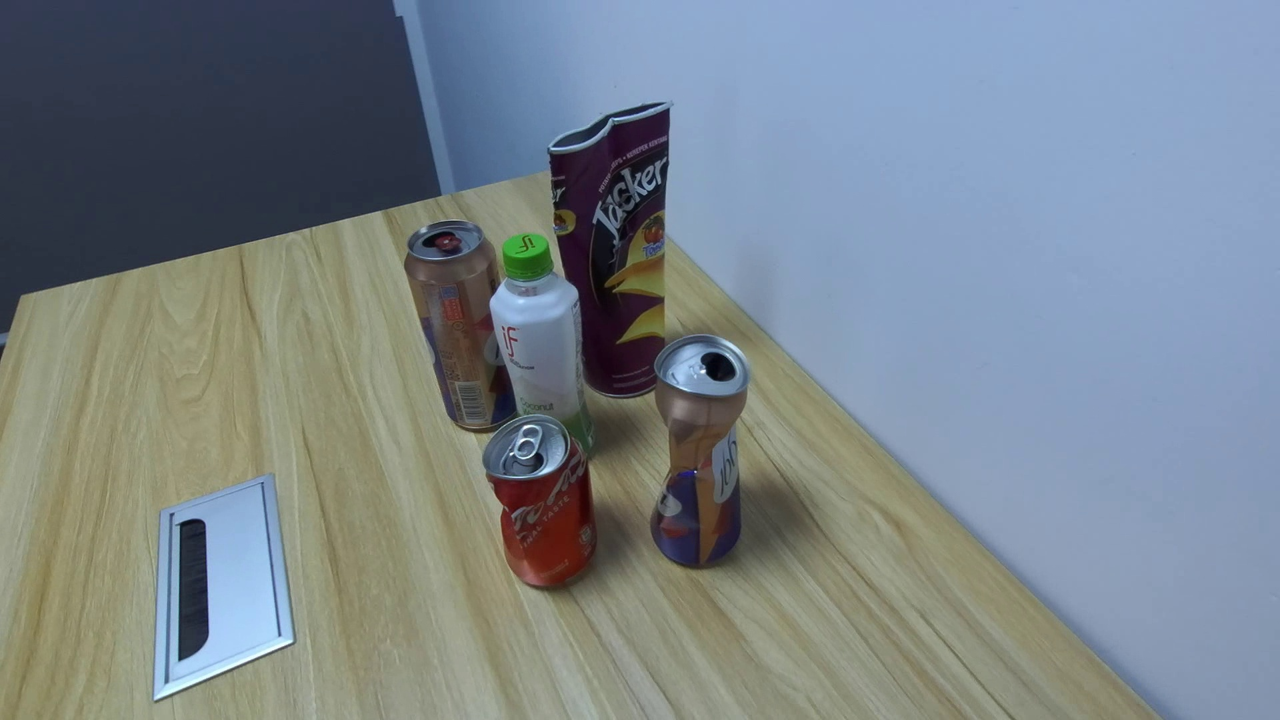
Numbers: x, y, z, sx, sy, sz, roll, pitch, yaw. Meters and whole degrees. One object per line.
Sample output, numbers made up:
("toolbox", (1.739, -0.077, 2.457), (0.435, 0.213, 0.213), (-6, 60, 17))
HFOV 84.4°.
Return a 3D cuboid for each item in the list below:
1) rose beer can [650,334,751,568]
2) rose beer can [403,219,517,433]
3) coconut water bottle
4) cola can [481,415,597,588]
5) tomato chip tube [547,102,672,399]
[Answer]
("rose beer can", (0.037, 0.063, 0.457), (0.068, 0.162, 0.073), (-16, 43, -16))
("rose beer can", (-0.138, -0.022, 0.568), (0.068, 0.169, 0.068), (-3, 36, 2))
("coconut water bottle", (-0.071, -0.002, 0.518), (0.063, 0.189, 0.063), (-2, 40, 2))
("cola can", (-0.064, 0.093, 0.470), (0.069, 0.113, 0.065), (-32, 48, -29))
("tomato chip tube", (-0.018, -0.075, 0.568), (0.090, 0.236, 0.078), (-2, 40, -2))
